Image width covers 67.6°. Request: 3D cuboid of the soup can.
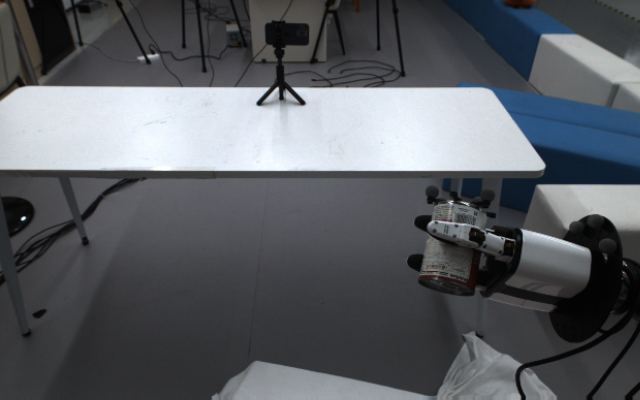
[{"bbox_3d":[0.166,0.058,0.596,0.067,0.067,0.101,11,72,13],"label":"soup can"}]
